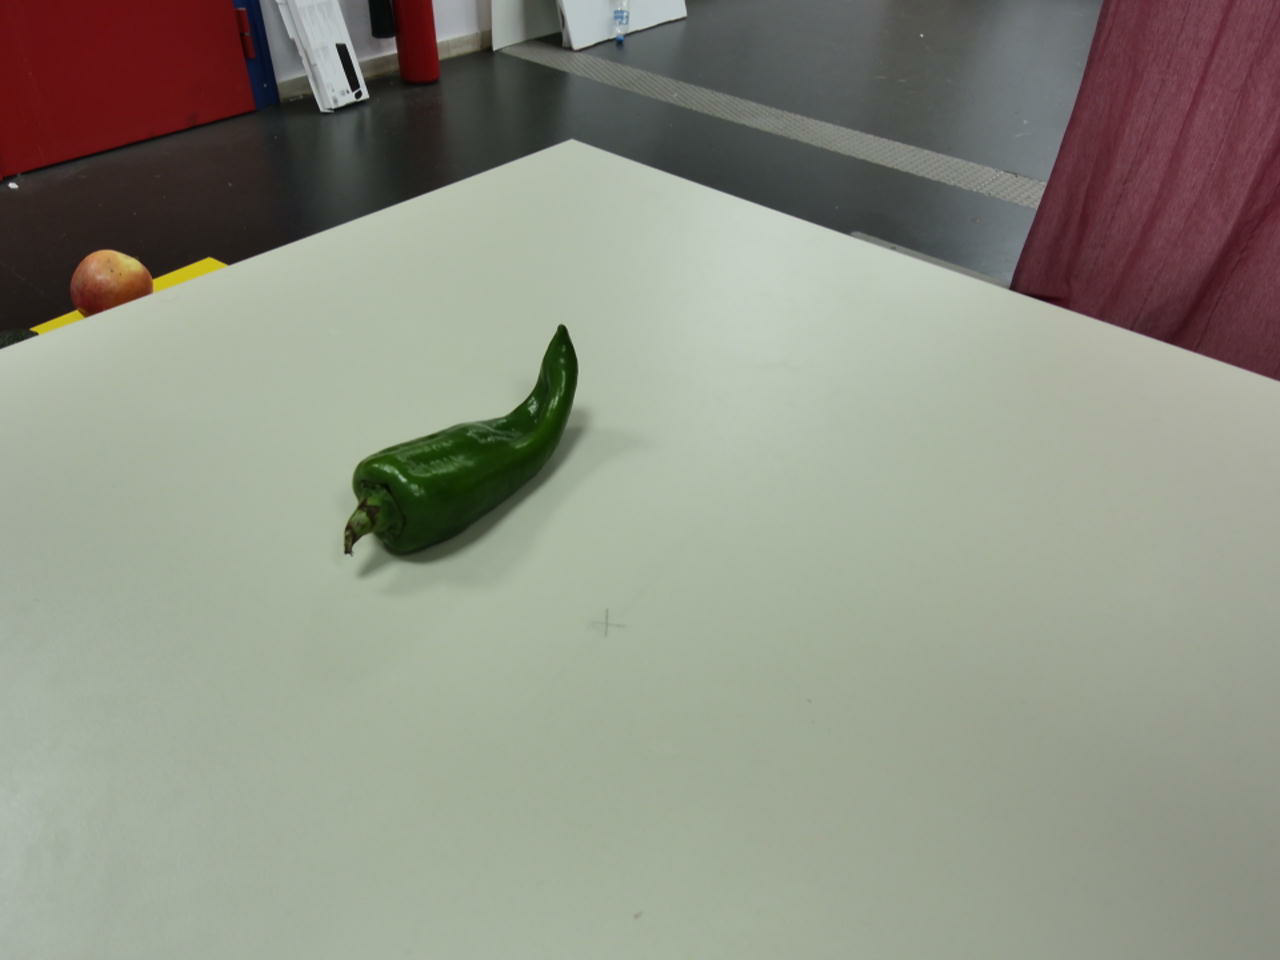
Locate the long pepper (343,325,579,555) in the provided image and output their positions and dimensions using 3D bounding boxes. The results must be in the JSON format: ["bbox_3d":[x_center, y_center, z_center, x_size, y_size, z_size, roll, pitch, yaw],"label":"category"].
[{"bbox_3d":[-0.086,-0.019,0.518,0.058,0.065,0.175,26,44,29],"label":"long pepper"}]
